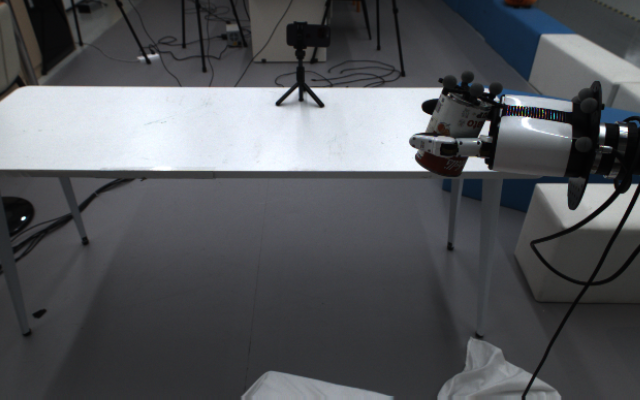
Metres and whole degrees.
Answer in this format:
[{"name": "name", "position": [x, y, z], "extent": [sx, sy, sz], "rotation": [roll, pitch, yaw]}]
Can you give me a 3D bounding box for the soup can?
[{"name": "soup can", "position": [0.177, -0.091, 0.643], "extent": [0.067, 0.101, 0.067], "rotation": [13, 30, -8]}]
